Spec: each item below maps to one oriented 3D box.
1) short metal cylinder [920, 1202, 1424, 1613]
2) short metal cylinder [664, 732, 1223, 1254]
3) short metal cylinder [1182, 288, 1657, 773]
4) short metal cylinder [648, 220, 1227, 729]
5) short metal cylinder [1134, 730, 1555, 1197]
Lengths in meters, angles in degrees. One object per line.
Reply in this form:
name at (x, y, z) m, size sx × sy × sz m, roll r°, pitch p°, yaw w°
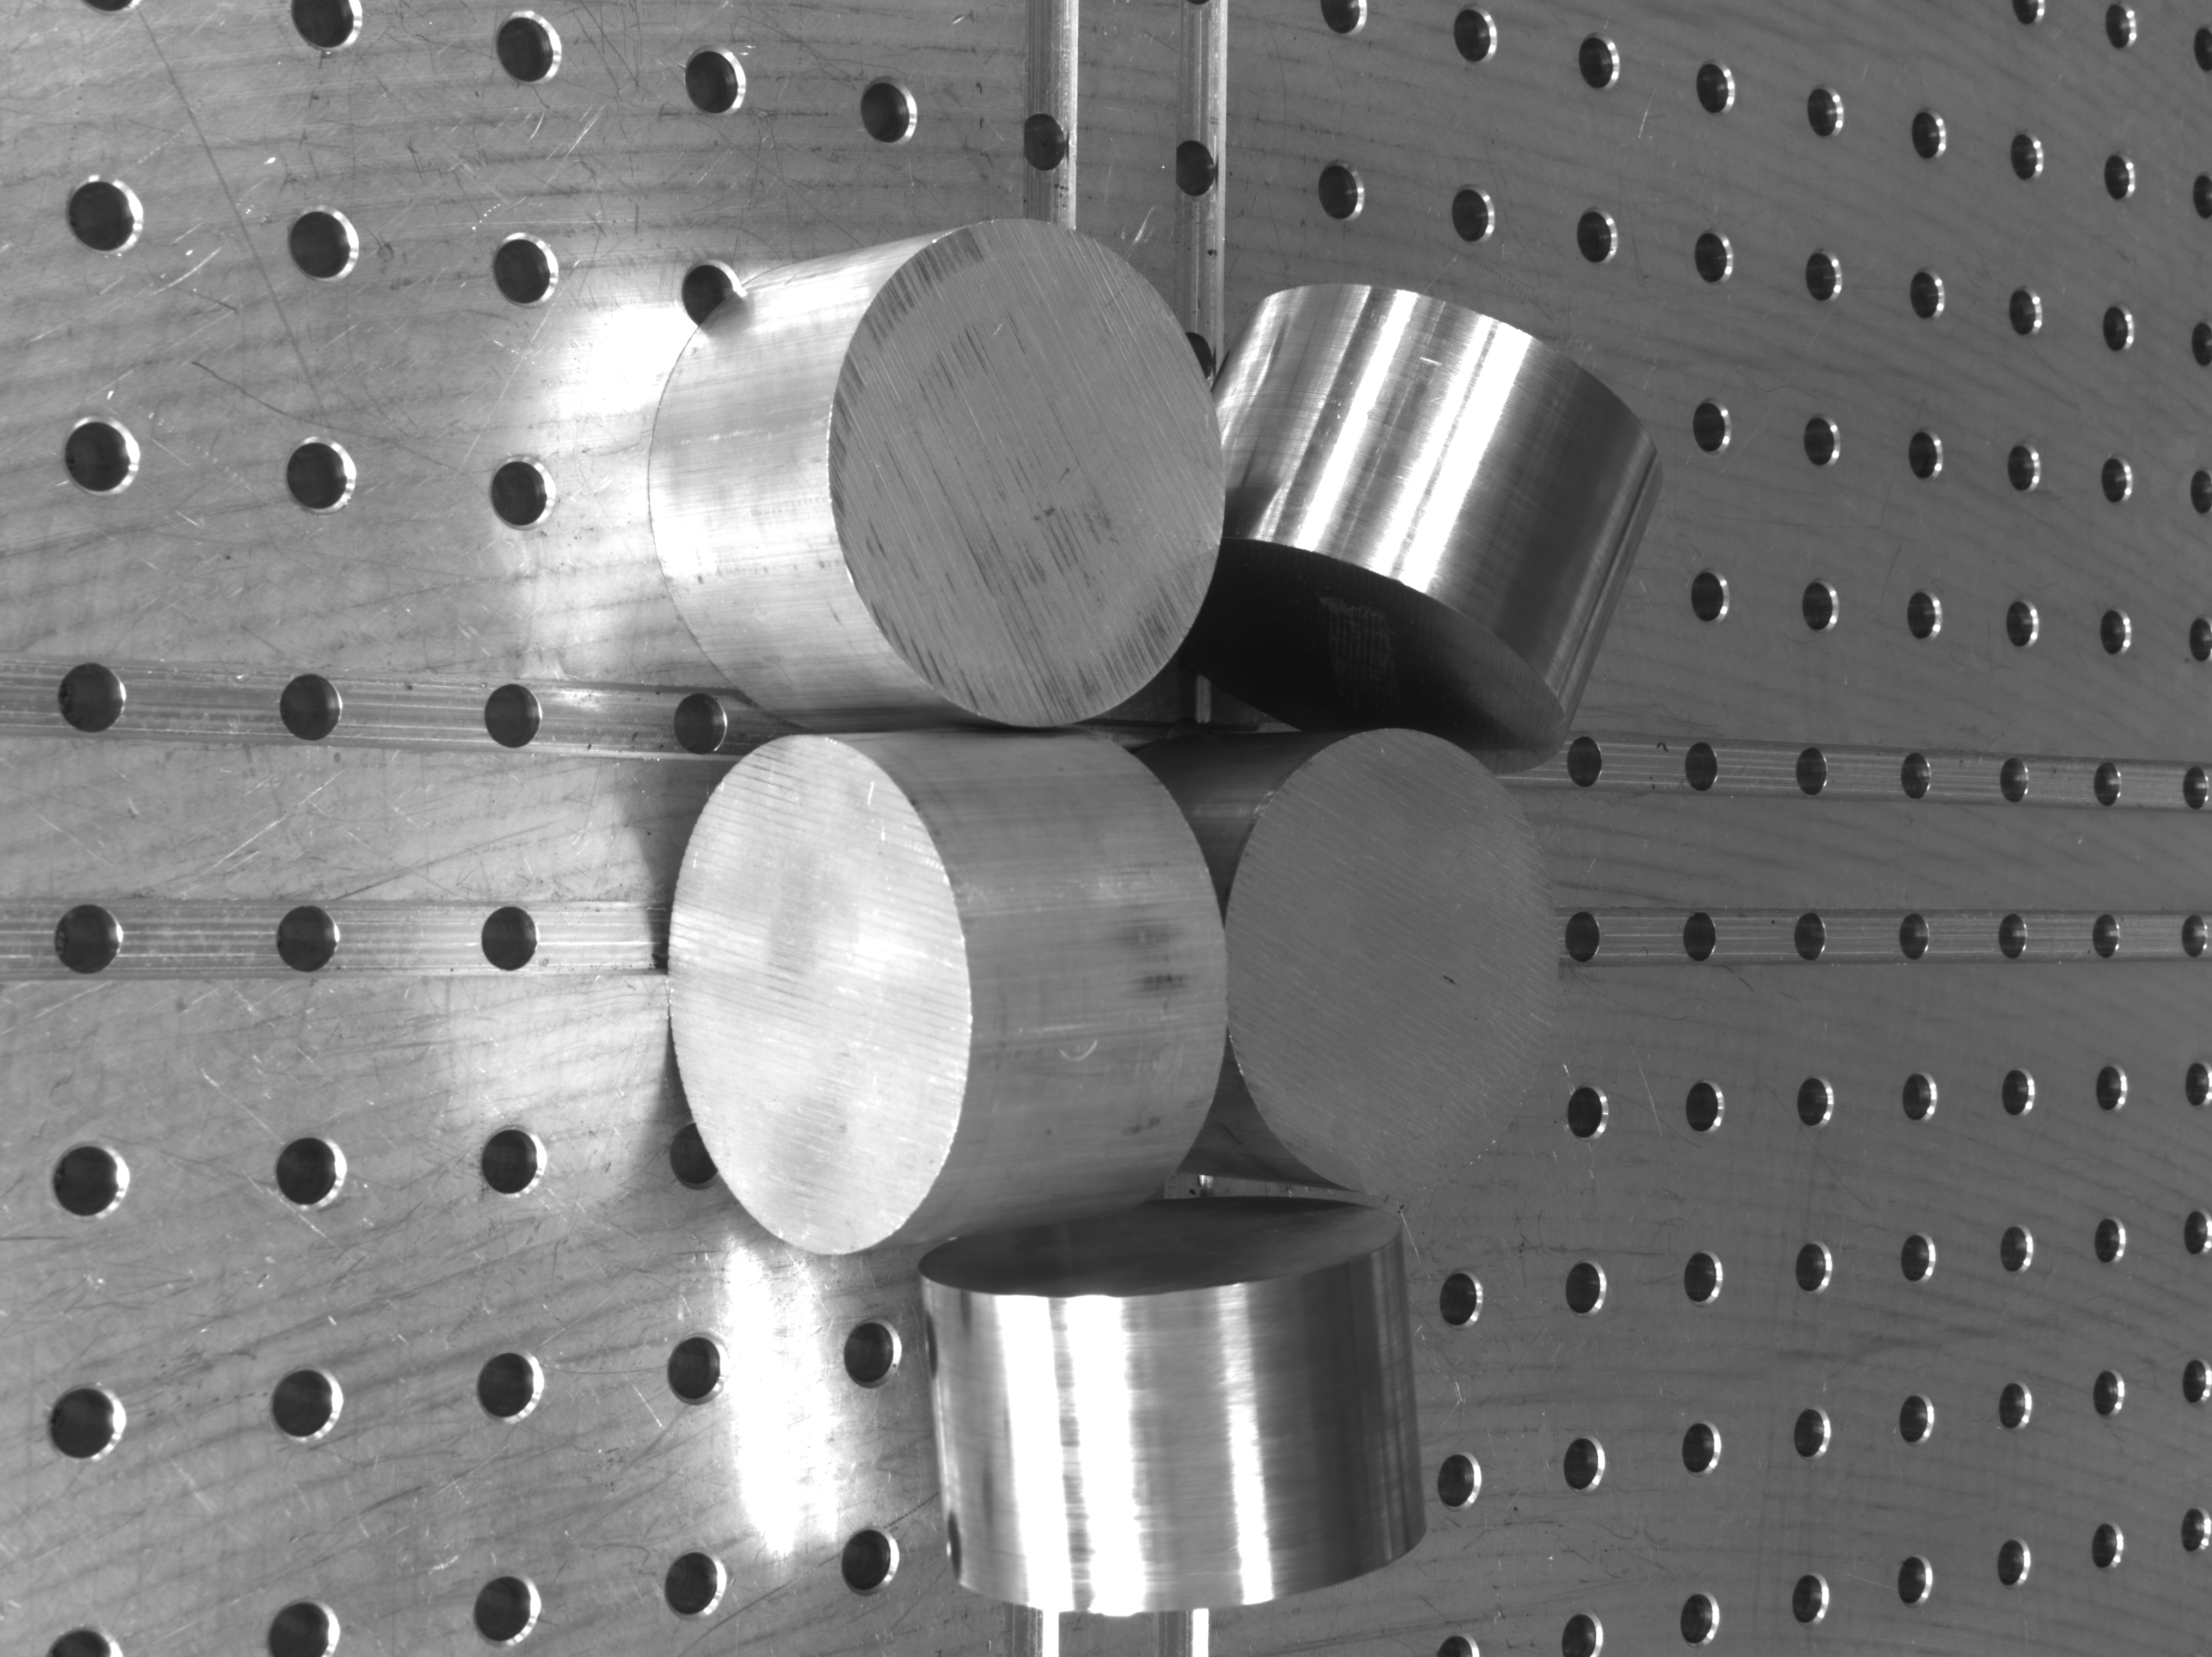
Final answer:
short metal cylinder at (0.011, 0.094, 0.612) m, size 0.080 × 0.080 × 0.050 m, roll -8°, pitch 95°, yaw -39°
short metal cylinder at (-0.027, 0.024, 0.583) m, size 0.050 × 0.080 × 0.080 m, roll -3°, pitch 92°, yaw -40°
short metal cylinder at (0.051, -0.051, 0.646) m, size 0.080 × 0.080 × 0.050 m, roll 35°, pitch 68°, yaw -34°
short metal cylinder at (-0.027, -0.056, 0.601) m, size 0.080 × 0.050 × 0.080 m, roll 0°, pitch 90°, yaw -39°
short metal cylinder at (0.033, 0.023, 0.651) m, size 0.080 × 0.050 × 0.080 m, roll 0°, pitch 91°, yaw -40°
